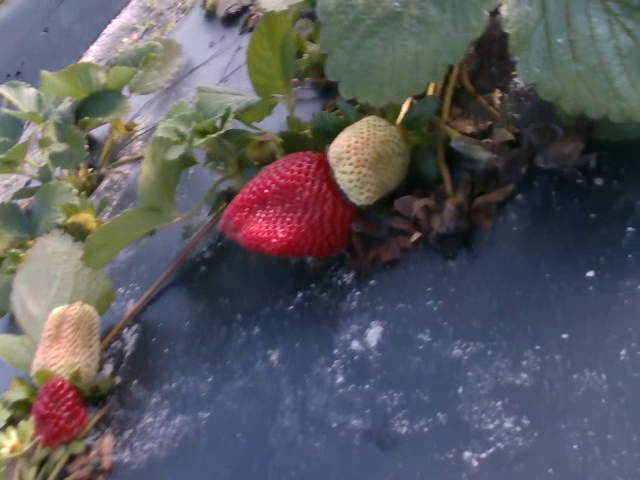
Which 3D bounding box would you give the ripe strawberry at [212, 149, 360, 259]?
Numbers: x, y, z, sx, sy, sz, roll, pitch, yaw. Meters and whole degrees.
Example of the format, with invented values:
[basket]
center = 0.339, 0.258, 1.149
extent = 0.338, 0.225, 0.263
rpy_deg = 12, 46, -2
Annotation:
[ripe strawberry]
center = -0.016, -0.011, 0.292
extent = 0.070, 0.058, 0.057
rpy_deg = -12, -28, -24
